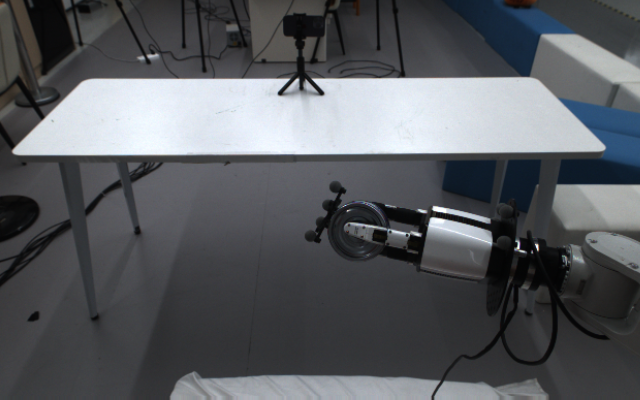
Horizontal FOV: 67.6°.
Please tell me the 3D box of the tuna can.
[{"bbox_3d":[0.058,0.042,0.685,0.085,0.085,0.034,9,4,9],"label":"tuna can"}]
